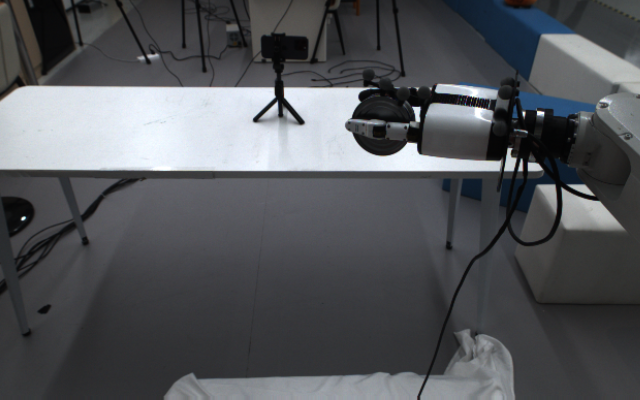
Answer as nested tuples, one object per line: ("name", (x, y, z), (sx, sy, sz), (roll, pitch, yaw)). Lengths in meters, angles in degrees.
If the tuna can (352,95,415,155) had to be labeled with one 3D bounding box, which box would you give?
("tuna can", (0.091, -0.109, 0.679), (0.085, 0.085, 0.034), (16, 28, 19))
